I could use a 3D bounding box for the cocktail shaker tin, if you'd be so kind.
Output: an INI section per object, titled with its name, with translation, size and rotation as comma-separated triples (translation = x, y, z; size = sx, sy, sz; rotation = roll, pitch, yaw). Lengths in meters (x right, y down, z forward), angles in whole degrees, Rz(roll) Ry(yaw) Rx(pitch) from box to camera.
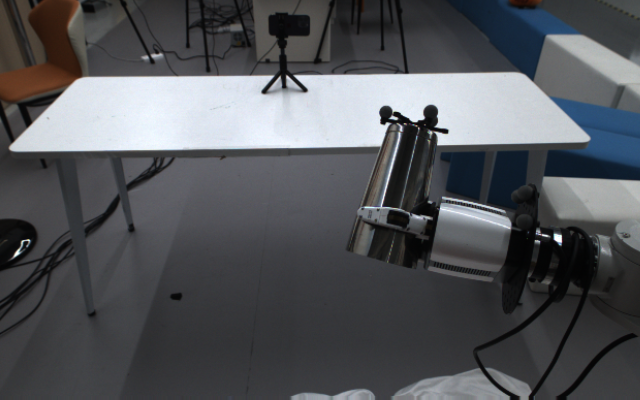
[cocktail shaker tin]
translation = 0.098, -0.006, 0.619
size = 0.093, 0.170, 0.093
rotation = 15, -4, 1
